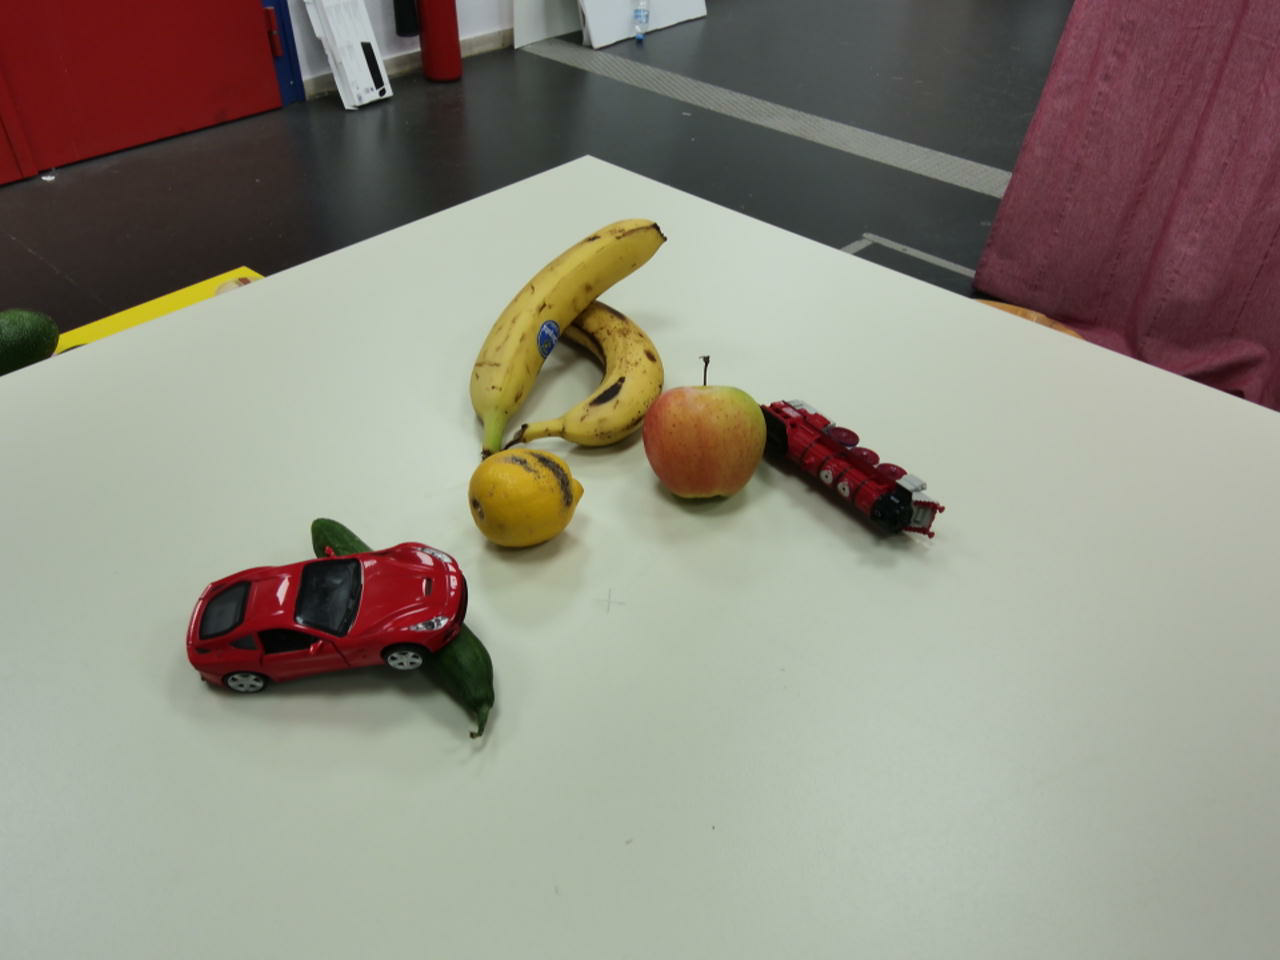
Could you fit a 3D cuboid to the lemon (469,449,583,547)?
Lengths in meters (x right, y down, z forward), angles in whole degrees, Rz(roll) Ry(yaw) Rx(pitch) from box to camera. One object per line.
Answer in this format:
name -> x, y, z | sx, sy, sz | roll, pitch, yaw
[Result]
lemon -> -0.067, 0.010, 0.569 | 0.058, 0.056, 0.061 | 23, 43, 26
